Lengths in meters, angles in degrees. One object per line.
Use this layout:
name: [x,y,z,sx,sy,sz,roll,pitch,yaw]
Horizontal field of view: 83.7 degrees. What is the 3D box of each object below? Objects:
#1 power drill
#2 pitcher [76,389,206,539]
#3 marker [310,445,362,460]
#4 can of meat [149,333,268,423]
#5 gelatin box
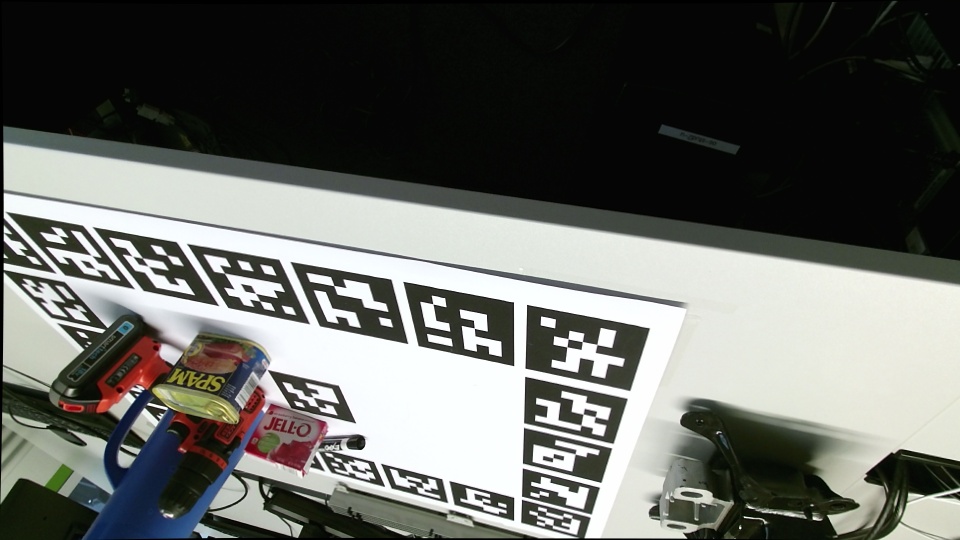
power drill: [-0.395,0.194,0.670,0.187,0.184,0.057,37,132,-9]
pitcher: [-0.444,0.276,0.737,0.189,0.241,0.133,27,133,-16]
marker: [-0.224,0.273,0.800,0.121,0.019,0.020,-13,127,29]
can of meat: [-0.320,0.127,0.642,0.102,0.083,0.058,9,137,13]
gelatin box: [-0.284,0.242,0.757,0.089,0.073,0.030,18,133,5]
